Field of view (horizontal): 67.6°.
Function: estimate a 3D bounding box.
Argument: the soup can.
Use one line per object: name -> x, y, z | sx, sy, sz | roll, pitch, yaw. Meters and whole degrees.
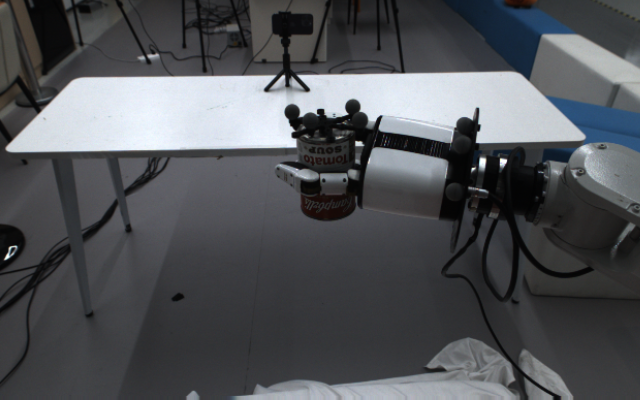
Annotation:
soup can -> 0.010, -0.036, 0.563 | 0.067, 0.101, 0.067 | -2, 33, 1
